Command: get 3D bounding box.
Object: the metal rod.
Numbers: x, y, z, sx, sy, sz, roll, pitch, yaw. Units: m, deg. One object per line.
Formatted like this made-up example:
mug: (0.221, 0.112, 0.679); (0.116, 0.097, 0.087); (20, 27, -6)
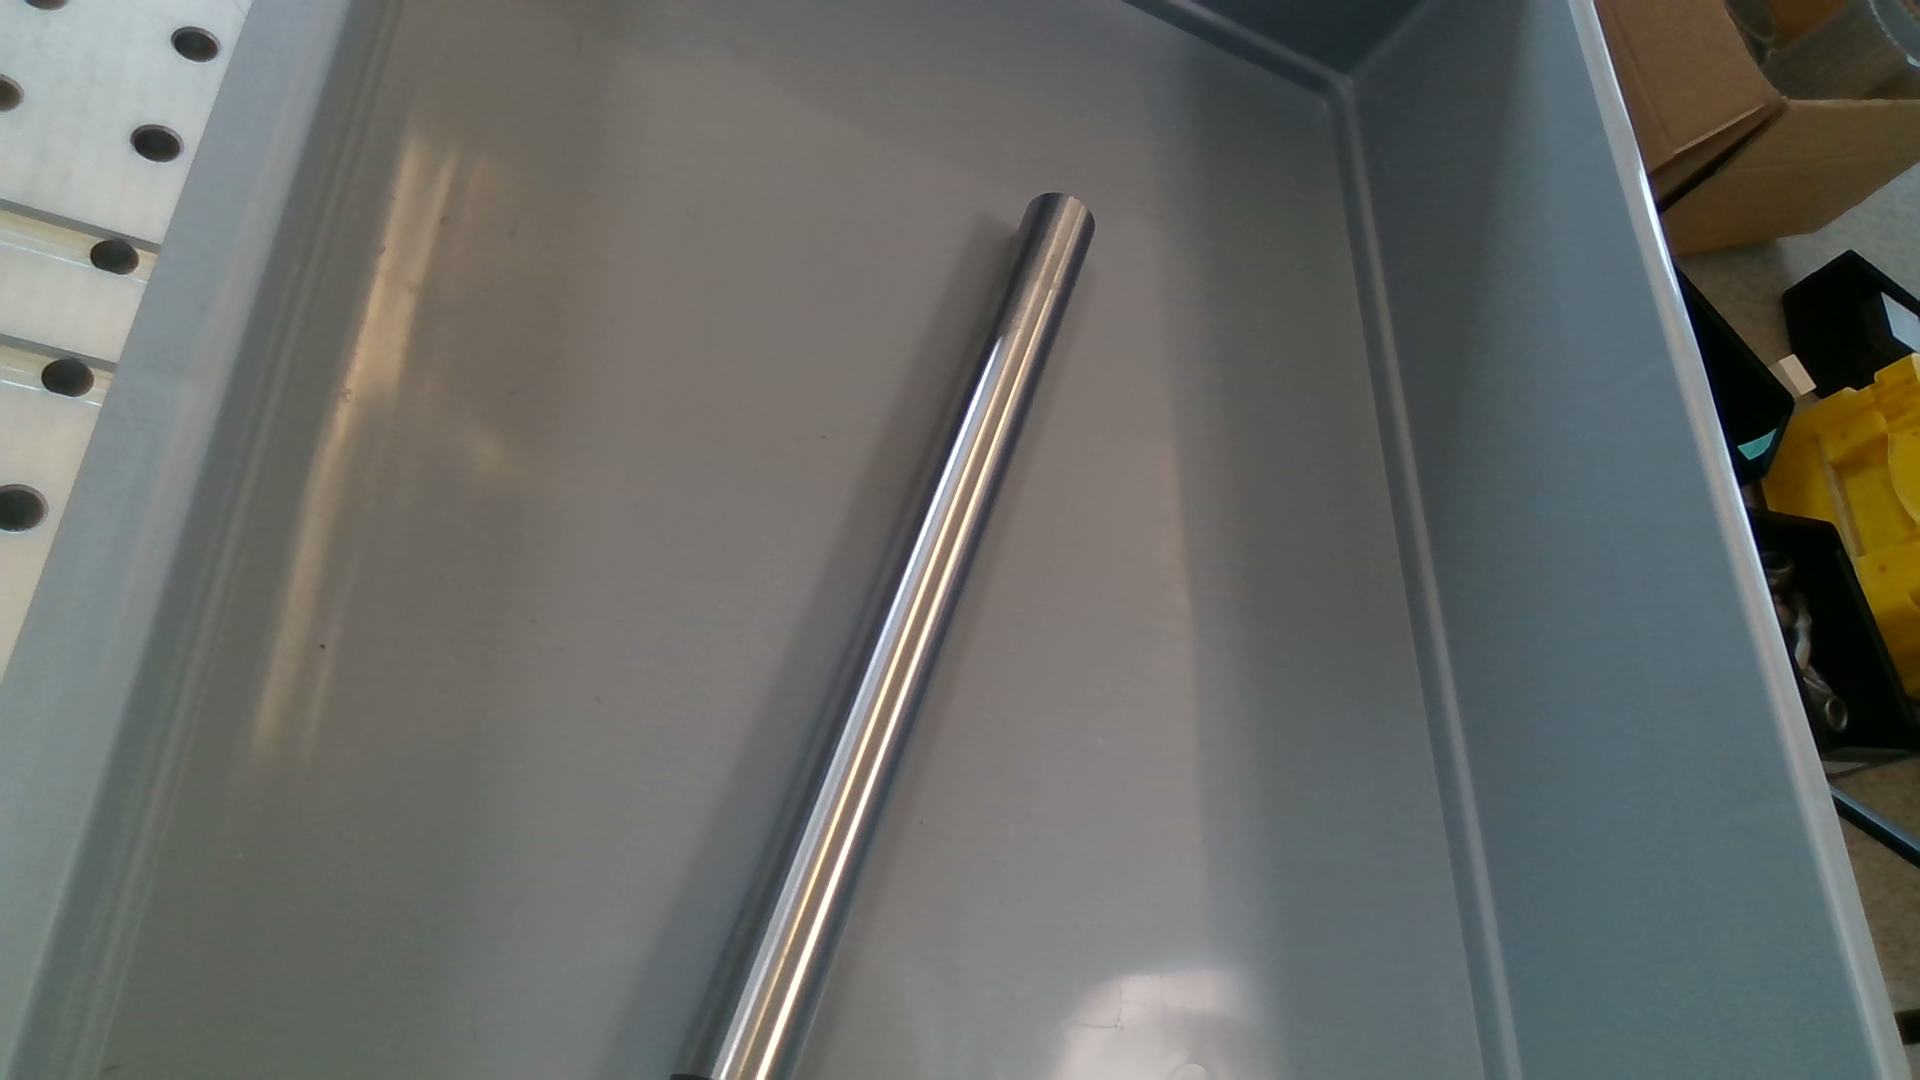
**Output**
metal rod: (-0.008, 0.005, 0.384); (0.025, 0.025, 0.299); (31, 53, -14)
